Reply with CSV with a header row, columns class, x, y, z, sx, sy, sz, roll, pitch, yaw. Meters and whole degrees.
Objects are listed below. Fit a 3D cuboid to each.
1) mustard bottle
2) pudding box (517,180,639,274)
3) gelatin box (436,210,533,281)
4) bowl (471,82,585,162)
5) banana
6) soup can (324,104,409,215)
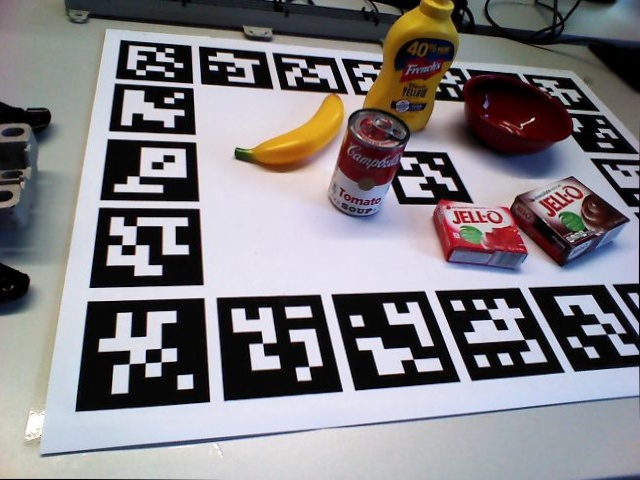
class,x,y,z,sx,sy,sz,roll,pitch,yaw
mustard bottle,0.134,-0.230,0.653,0.096,0.192,0.058,1,45,-14
pudding box,0.309,-0.018,0.622,0.113,0.039,0.090,-20,61,-29
gelatin box,0.180,0.005,0.575,0.089,0.030,0.073,5,50,-9
bowl,0.287,-0.161,0.742,0.162,0.055,0.160,6,46,-7
banana,-0.018,-0.142,0.655,0.074,0.039,0.196,24,46,22
soup can,0.048,-0.086,0.563,0.068,0.102,0.067,9,45,-9
